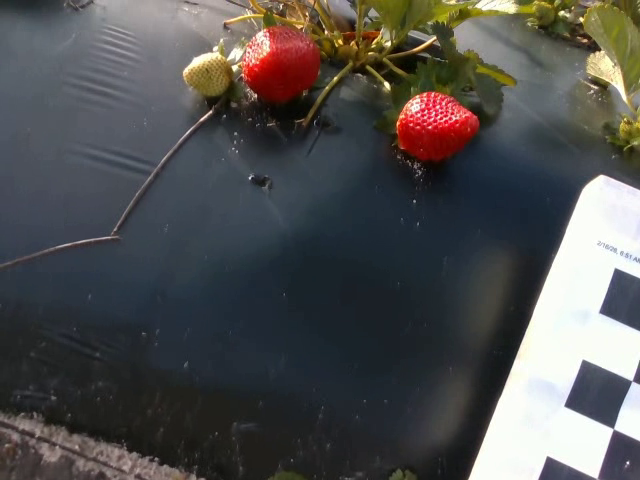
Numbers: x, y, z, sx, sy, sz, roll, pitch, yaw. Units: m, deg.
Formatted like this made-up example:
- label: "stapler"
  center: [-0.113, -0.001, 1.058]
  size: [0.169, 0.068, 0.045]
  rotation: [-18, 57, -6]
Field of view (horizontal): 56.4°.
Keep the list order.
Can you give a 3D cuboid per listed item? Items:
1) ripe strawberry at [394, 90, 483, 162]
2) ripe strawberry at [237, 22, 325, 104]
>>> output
- label: "ripe strawberry"
  center: [0.049, -0.048, 0.230]
  size: [0.033, 0.038, 0.039]
  rotation: [35, 2, -12]
- label: "ripe strawberry"
  center: [-0.015, -0.074, 0.234]
  size: [0.035, 0.041, 0.036]
  rotation: [8, 14, 7]
